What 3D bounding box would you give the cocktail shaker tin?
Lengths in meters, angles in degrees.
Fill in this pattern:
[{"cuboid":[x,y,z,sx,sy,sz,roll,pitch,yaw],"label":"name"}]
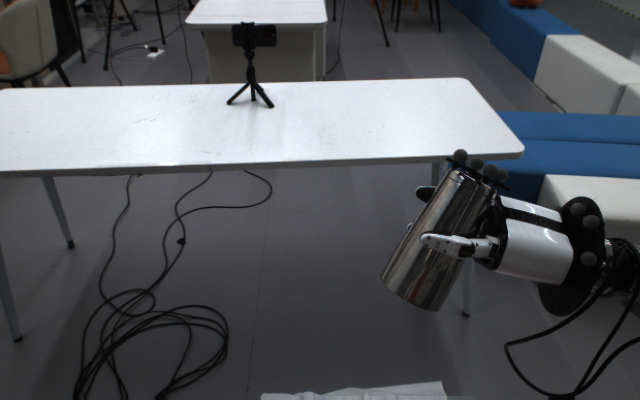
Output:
[{"cuboid":[0.160,0.045,0.632,0.093,0.170,0.093,24,12,-6],"label":"cocktail shaker tin"}]
